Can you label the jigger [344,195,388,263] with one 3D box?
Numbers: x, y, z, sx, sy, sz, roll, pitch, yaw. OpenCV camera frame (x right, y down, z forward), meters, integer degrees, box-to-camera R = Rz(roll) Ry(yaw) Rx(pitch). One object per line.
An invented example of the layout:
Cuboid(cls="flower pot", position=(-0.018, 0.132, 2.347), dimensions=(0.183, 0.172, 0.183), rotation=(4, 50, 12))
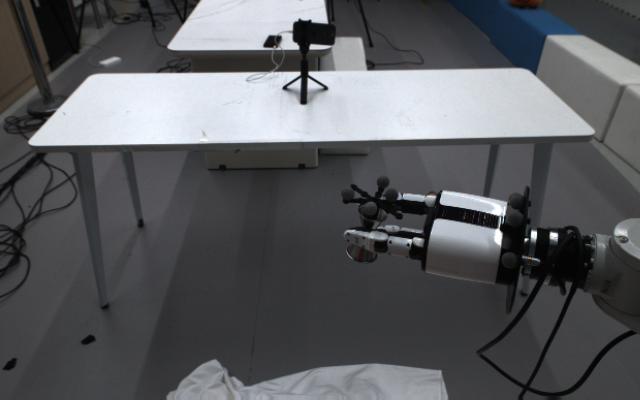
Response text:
Cuboid(cls="jigger", position=(0.063, 0.044, 0.653), dimensions=(0.043, 0.071, 0.043), rotation=(9, 30, -5))
